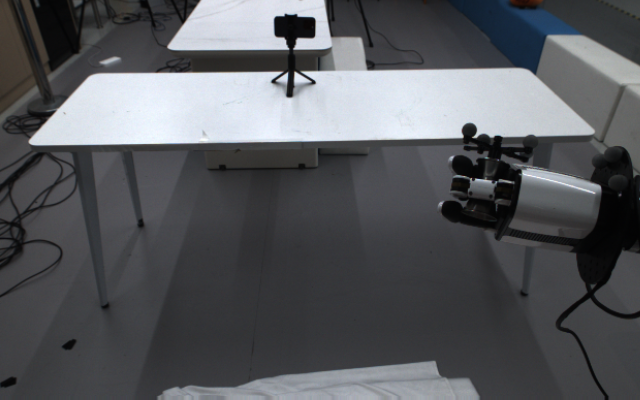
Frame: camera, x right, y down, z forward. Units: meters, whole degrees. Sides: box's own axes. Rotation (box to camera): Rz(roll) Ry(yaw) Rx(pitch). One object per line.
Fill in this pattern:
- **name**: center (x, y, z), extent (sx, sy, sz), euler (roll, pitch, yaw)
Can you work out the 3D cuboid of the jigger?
- **jigger**: center (0.203, -0.013, 0.585), extent (0.043, 0.071, 0.043), euler (16, -7, 2)
